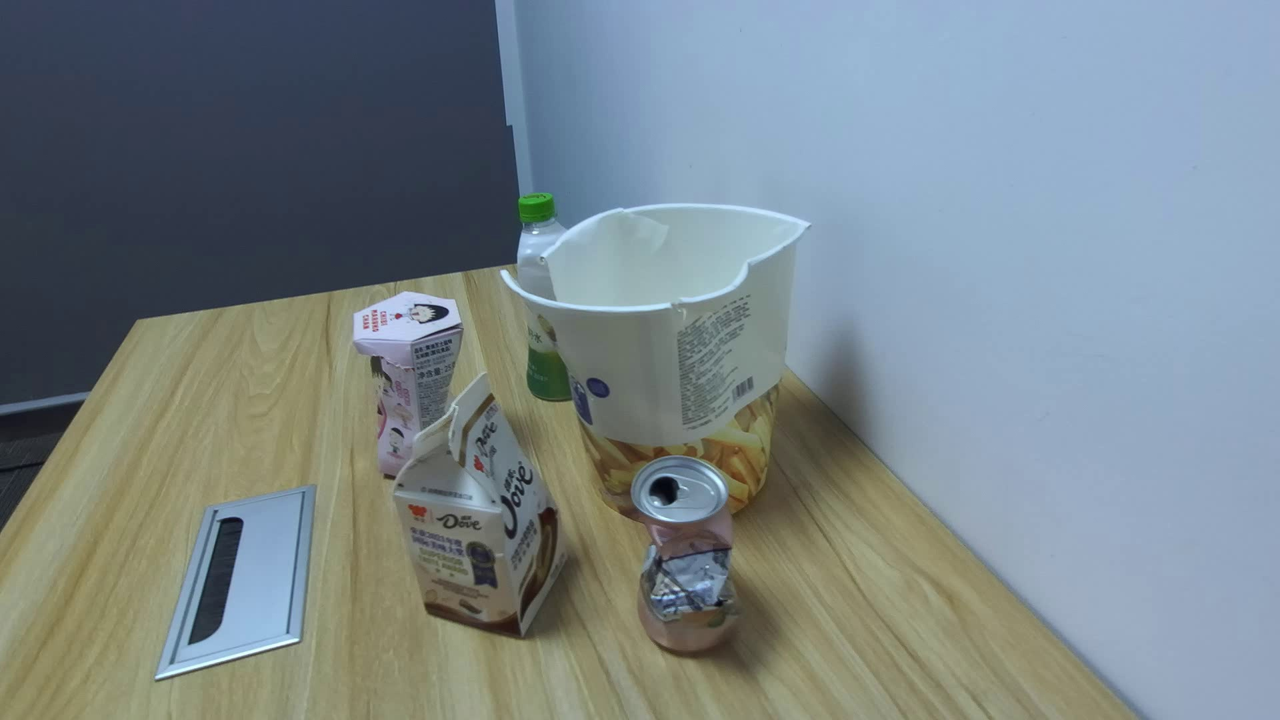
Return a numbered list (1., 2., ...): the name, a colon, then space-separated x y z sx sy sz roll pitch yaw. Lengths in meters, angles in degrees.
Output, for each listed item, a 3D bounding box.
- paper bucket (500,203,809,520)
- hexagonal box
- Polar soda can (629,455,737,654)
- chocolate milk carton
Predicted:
1. paper bucket: 0.023 0.003 0.529 0.145 0.197 0.203 15 35 30
2. hexagonal box: -0.179 0.023 0.577 0.090 0.134 0.091 10 31 18
3. Polar soda can: 0.028 0.118 0.425 0.074 0.114 0.070 12 40 28
4. chocolate milk carton: -0.098 0.087 0.444 0.073 0.155 0.084 8 32 17
